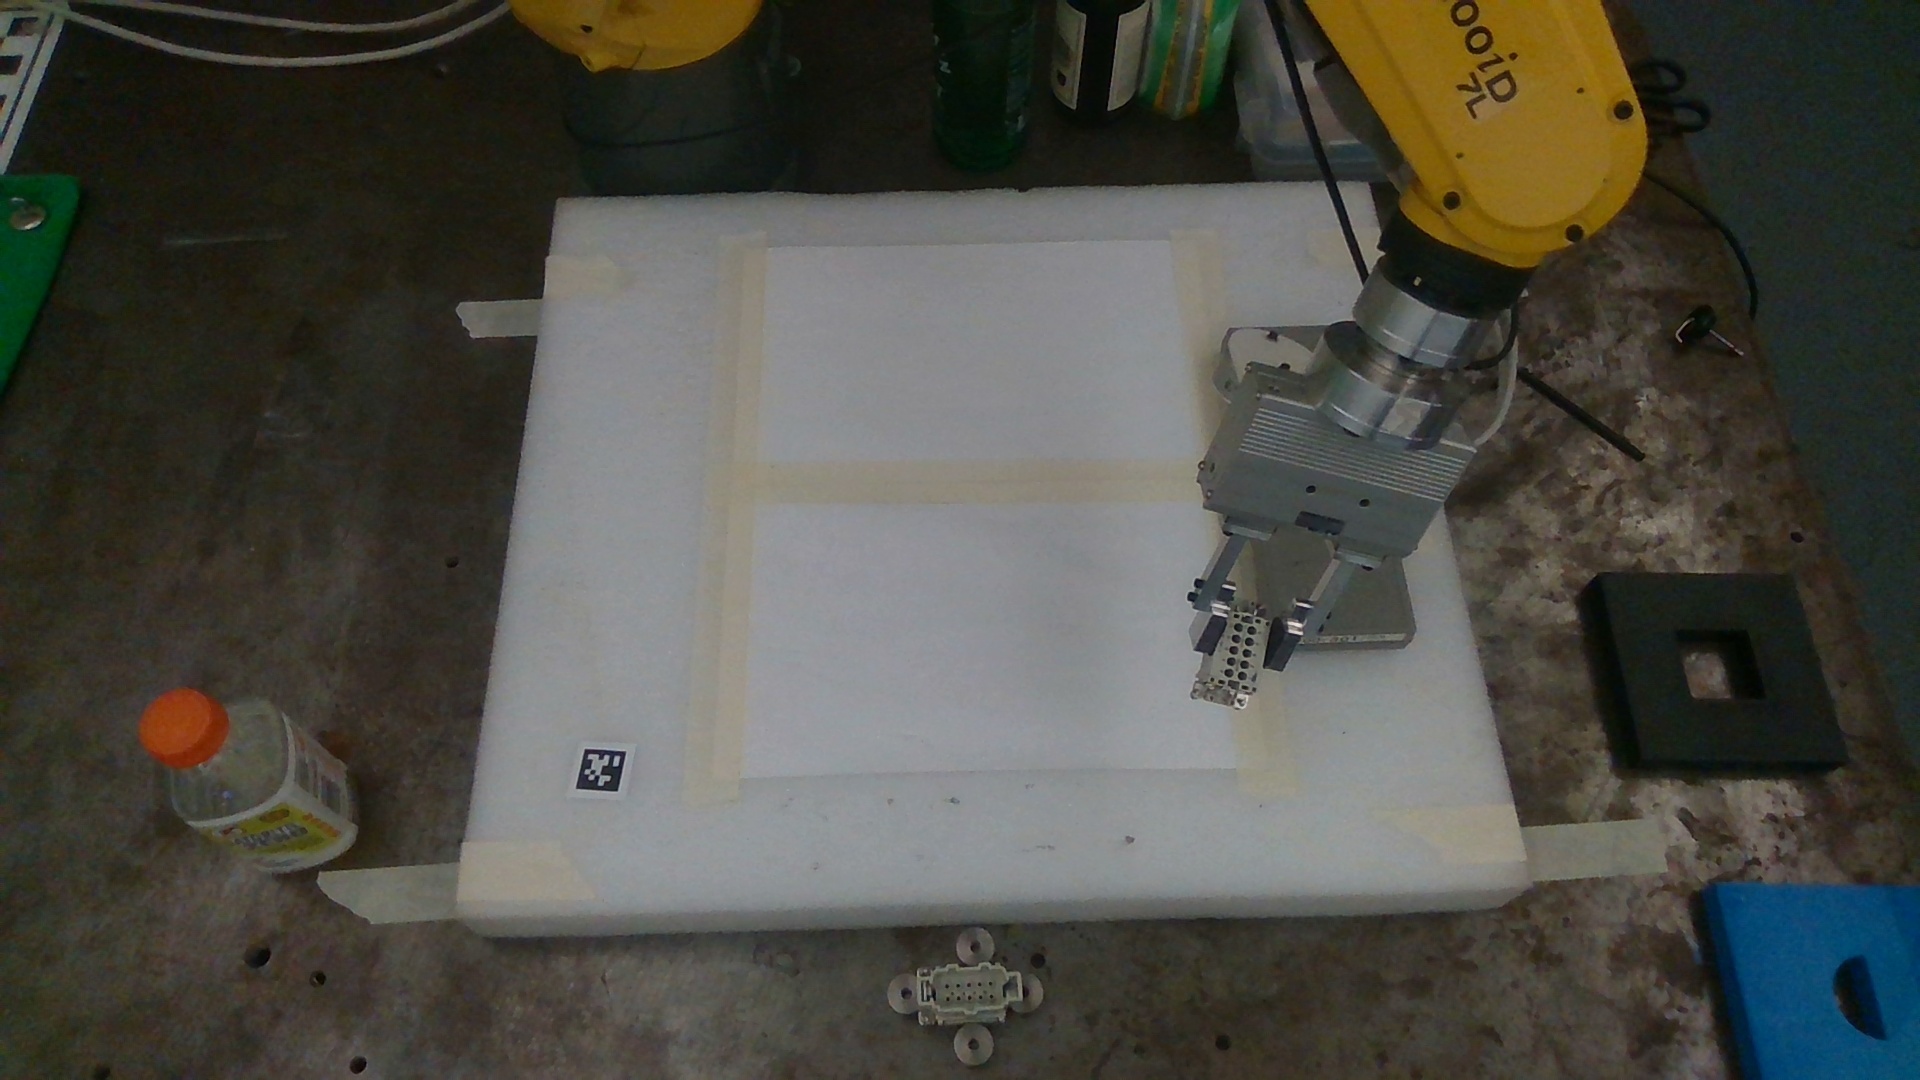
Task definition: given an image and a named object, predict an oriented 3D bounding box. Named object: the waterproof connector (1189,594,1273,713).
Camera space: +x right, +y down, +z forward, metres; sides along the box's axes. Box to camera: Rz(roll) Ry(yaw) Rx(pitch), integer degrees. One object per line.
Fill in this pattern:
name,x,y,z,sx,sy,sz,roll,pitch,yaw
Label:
waterproof connector,0.161,0.068,0.836,0.036,0.039,0.069,14,85,-9
